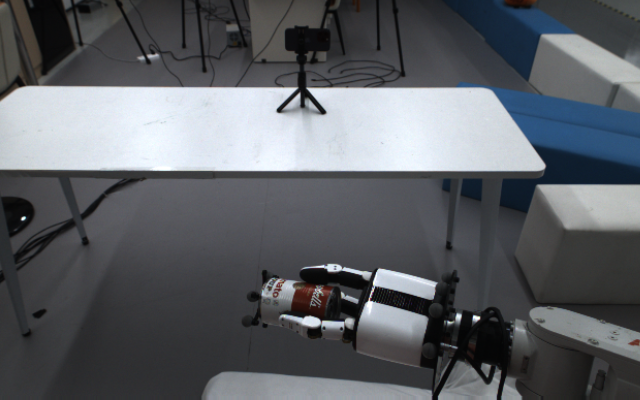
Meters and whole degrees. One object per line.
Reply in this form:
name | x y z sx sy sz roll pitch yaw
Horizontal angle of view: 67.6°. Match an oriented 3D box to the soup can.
soup can | -0.025 0.150 0.683 0.101 0.067 0.067 5 34 18
